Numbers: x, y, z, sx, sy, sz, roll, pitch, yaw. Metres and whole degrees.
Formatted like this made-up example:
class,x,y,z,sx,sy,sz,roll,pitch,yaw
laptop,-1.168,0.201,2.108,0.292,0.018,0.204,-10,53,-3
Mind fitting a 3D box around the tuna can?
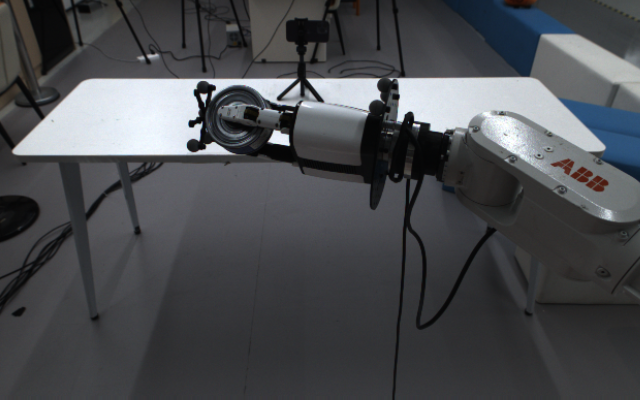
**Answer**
class,x,y,z,sx,sy,sz,roll,pitch,yaw
tuna can,-0.103,-0.105,0.631,0.085,0.085,0.034,10,-6,11
